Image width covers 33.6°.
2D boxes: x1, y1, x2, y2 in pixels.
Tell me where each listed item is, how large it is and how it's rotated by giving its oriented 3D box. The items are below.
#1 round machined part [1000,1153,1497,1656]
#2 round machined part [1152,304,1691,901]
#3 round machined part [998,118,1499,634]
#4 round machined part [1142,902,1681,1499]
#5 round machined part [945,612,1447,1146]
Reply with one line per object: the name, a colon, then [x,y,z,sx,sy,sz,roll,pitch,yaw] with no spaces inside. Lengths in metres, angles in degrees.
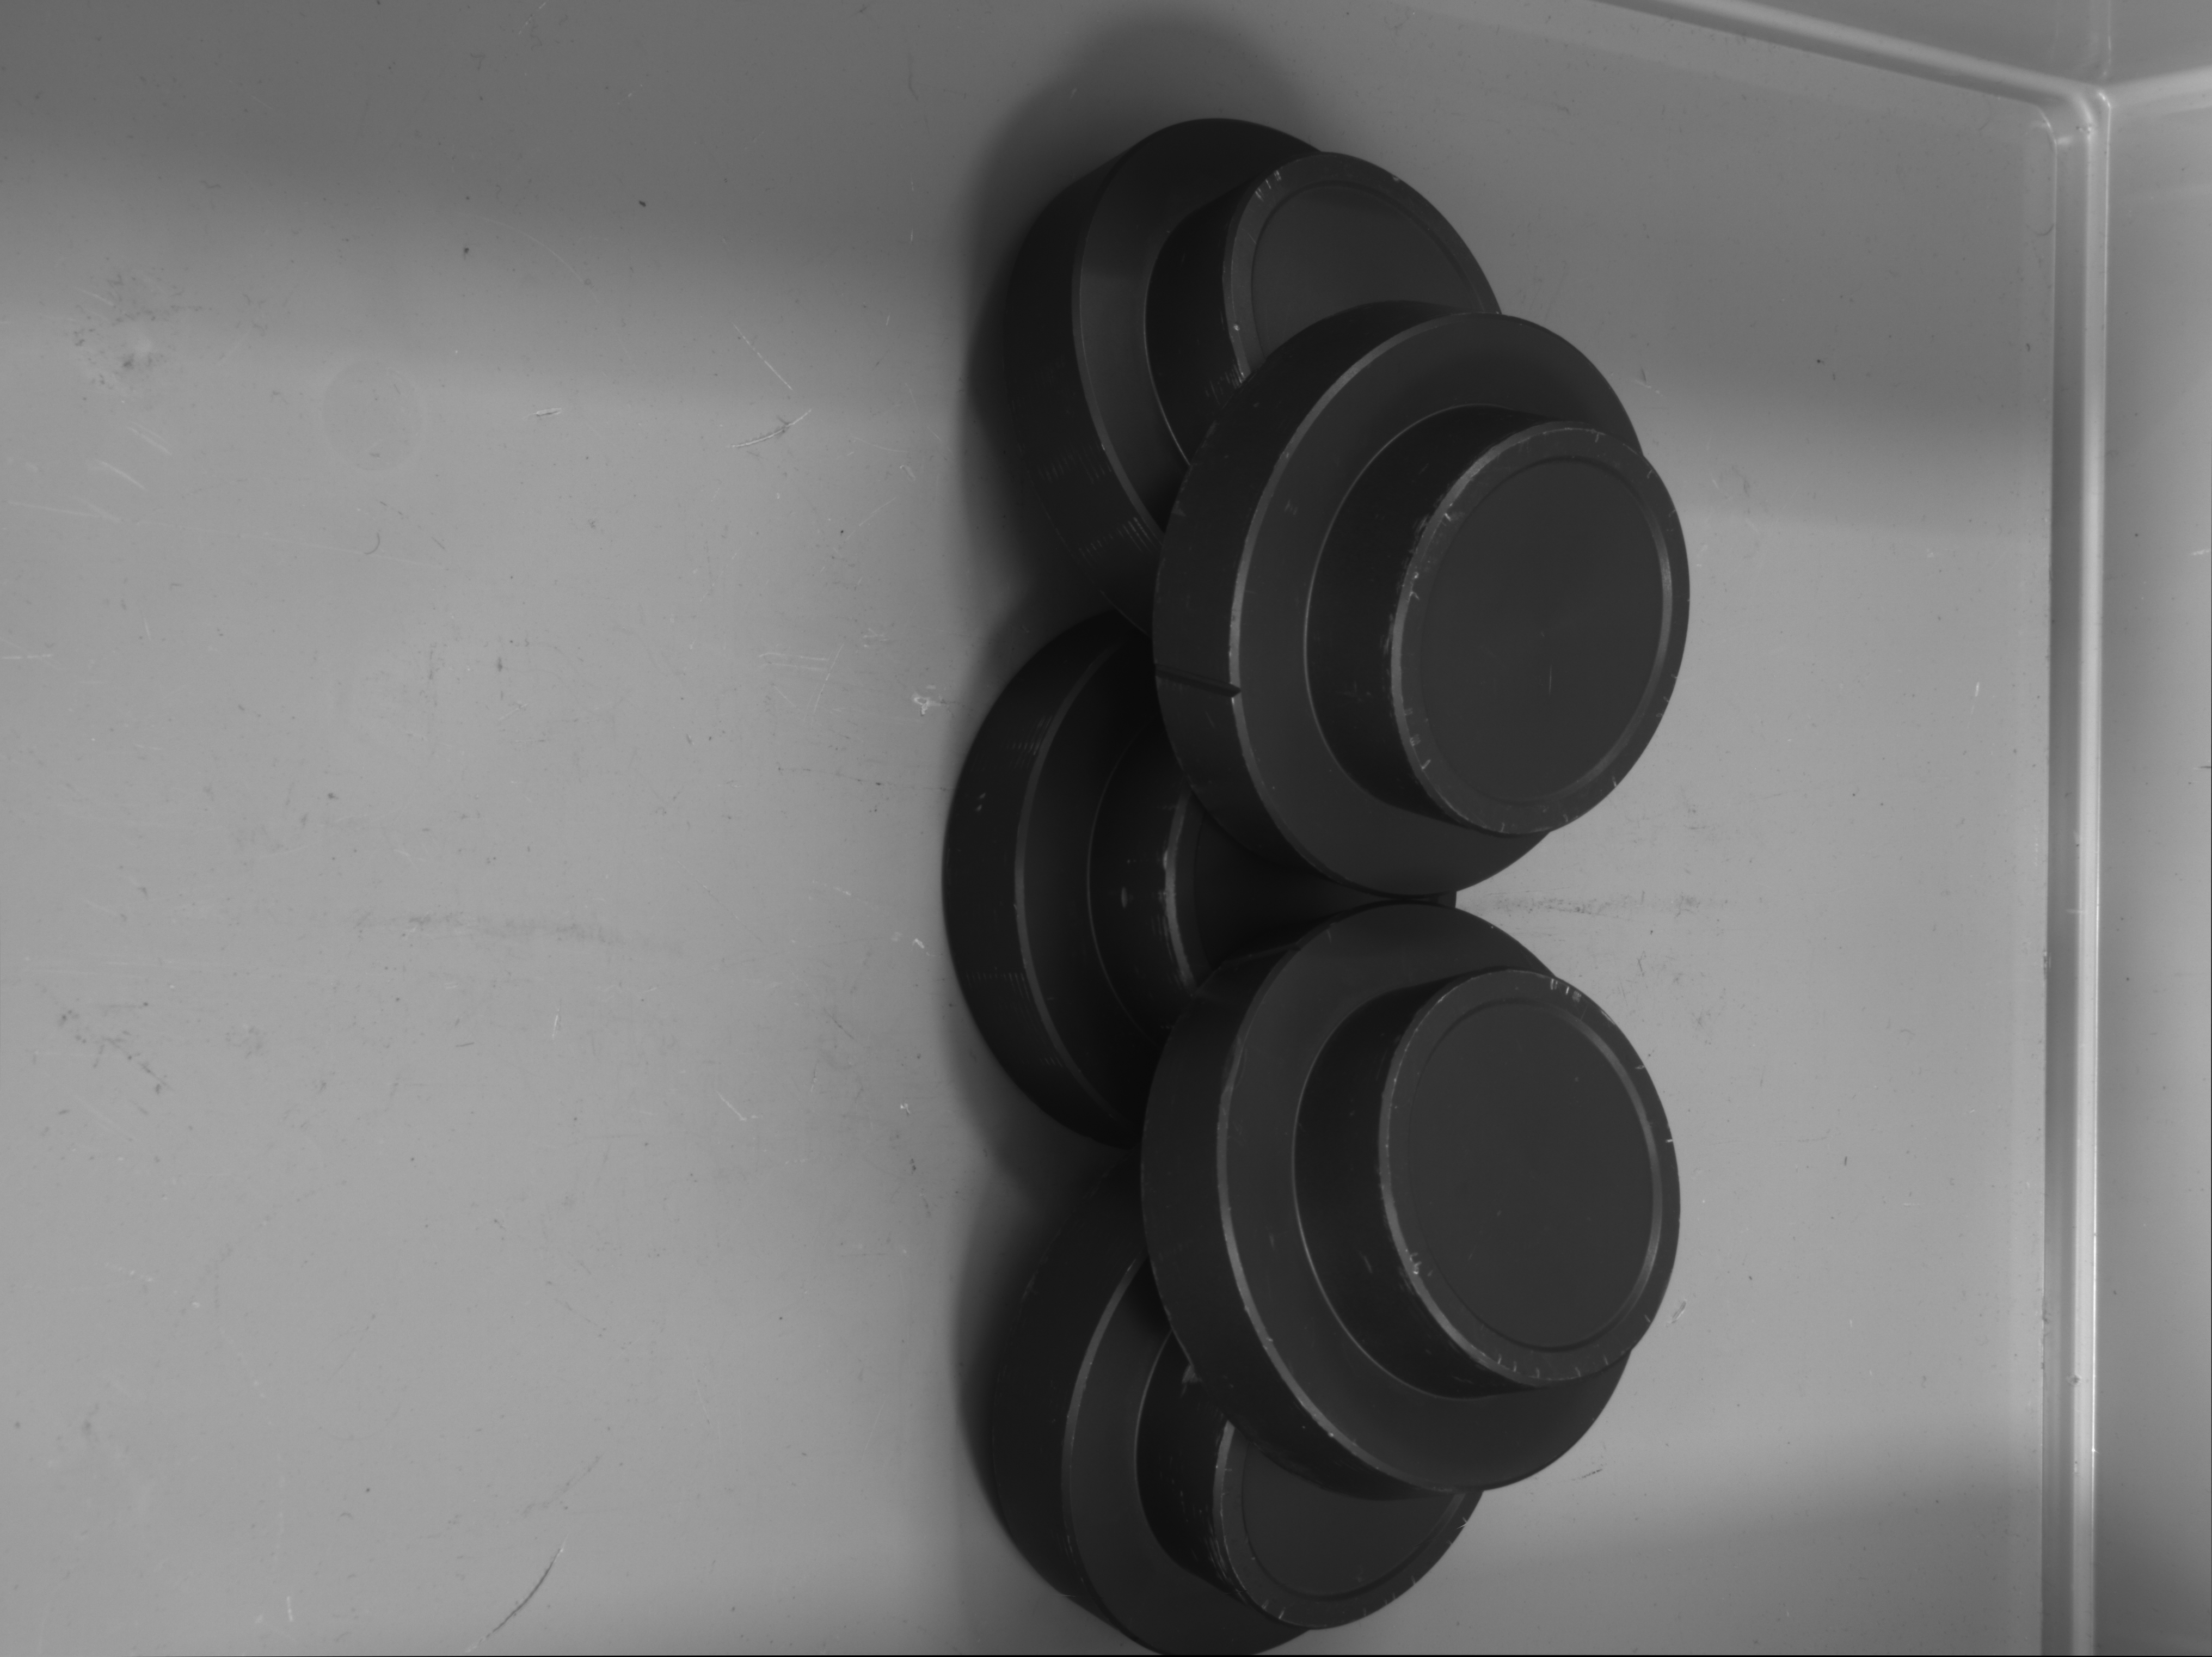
round machined part: [0.033,0.100,0.633,0.098,0.042,0.098,-14,113,-35]
round machined part: [0.058,-0.035,0.605,0.098,0.042,0.098,-12,110,-37]
round machined part: [0.033,-0.078,0.636,0.098,0.042,0.098,16,64,-35]
round machined part: [0.057,0.060,0.604,0.098,0.042,0.098,12,72,-37]
round machined part: [0.023,0.008,0.642,0.098,0.042,0.098,1,88,-40]
